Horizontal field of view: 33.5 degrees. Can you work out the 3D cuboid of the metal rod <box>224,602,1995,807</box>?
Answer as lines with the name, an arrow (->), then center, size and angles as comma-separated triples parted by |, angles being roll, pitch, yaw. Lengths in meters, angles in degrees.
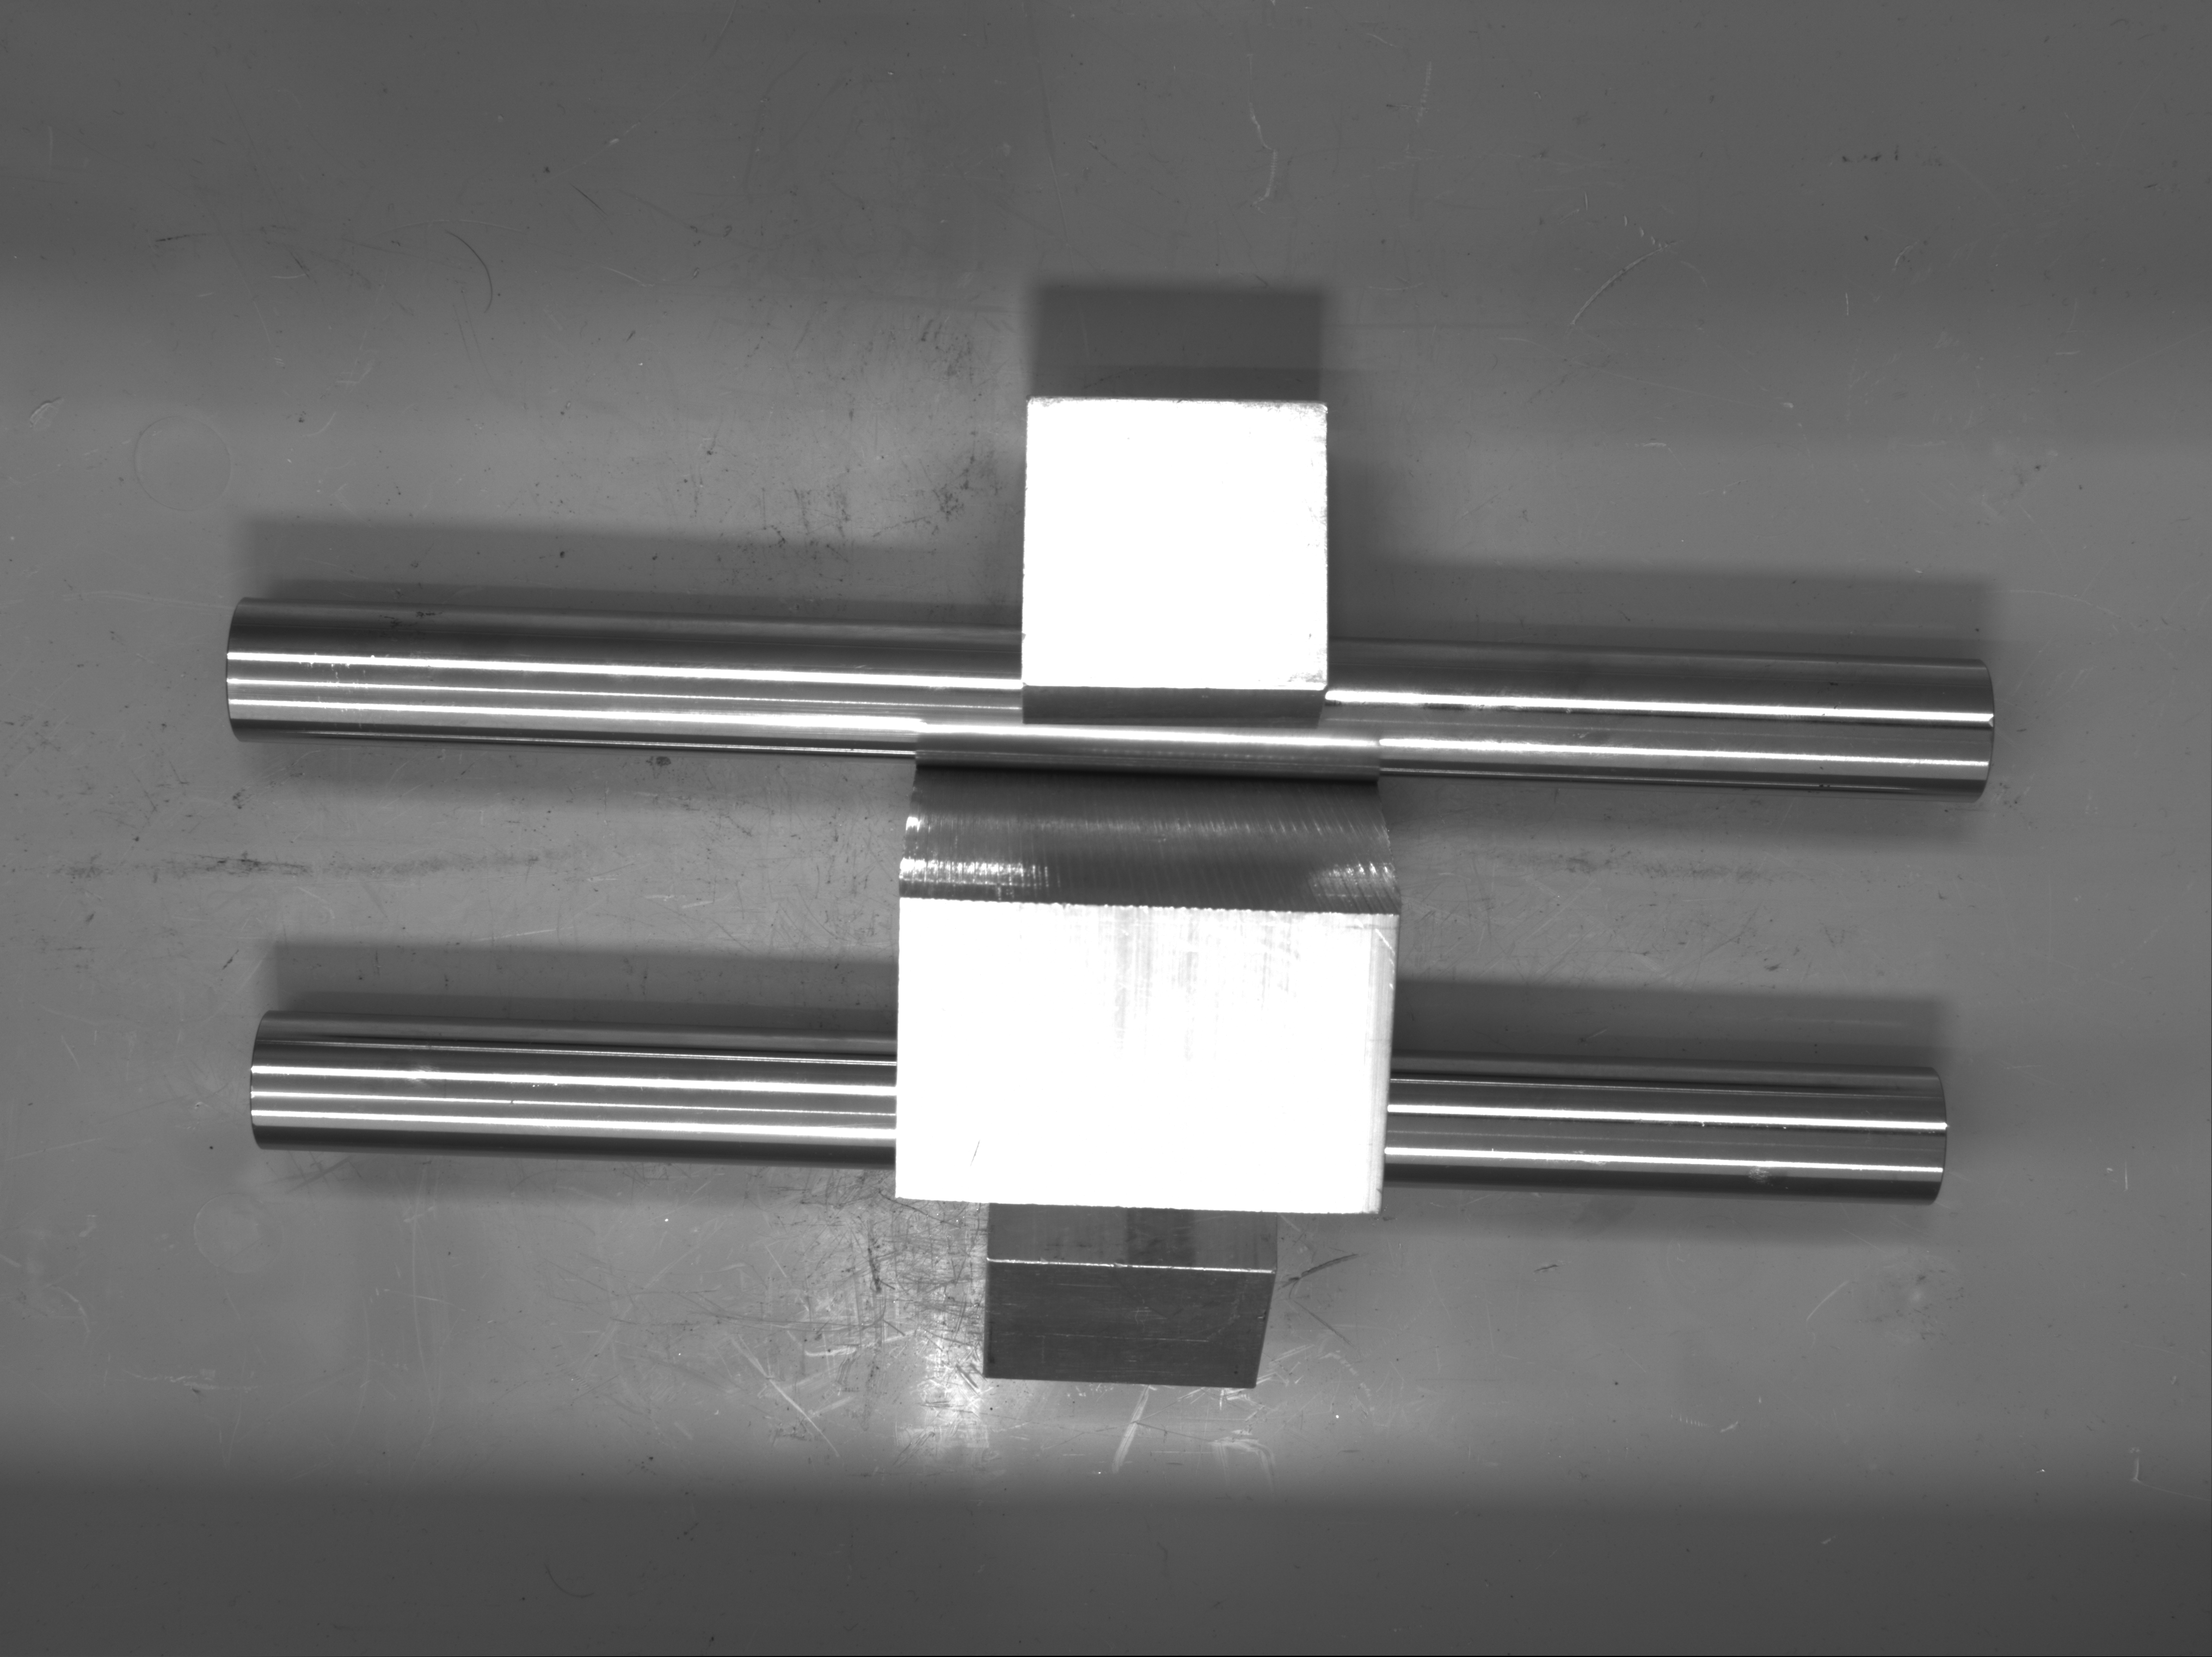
metal rod -> 0.001, -0.021, 0.634 | 0.300, 0.025, 0.025 | 2, 110, -1

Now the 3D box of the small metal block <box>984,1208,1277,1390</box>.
small metal block -> 0.004, 0.078, 0.658 | 0.050, 0.025, 0.050 | 2, 147, -1

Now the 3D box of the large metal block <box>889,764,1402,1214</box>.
large metal block -> 0.006, 0.024, 0.621 | 0.080, 0.080, 0.050 | 2, 110, -1

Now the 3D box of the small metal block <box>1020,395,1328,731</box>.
small metal block -> 0.011, -0.044, 0.615 | 0.050, 0.025, 0.050 | 1, 76, -1

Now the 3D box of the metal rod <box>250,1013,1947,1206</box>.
metal rod -> -0.001, 0.051, 0.662 | 0.300, 0.025, 0.025 | 2, 110, -1
